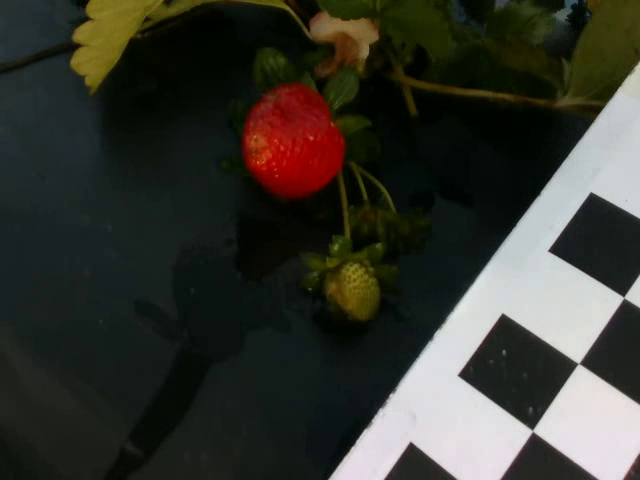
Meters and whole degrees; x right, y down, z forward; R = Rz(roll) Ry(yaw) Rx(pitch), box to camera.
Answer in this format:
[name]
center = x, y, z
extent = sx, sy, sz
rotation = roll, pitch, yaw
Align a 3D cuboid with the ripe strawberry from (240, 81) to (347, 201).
[ripe strawberry]
center = -0.014, -0.036, 0.223
extent = 0.043, 0.052, 0.057
rotation = 8, 11, 19
